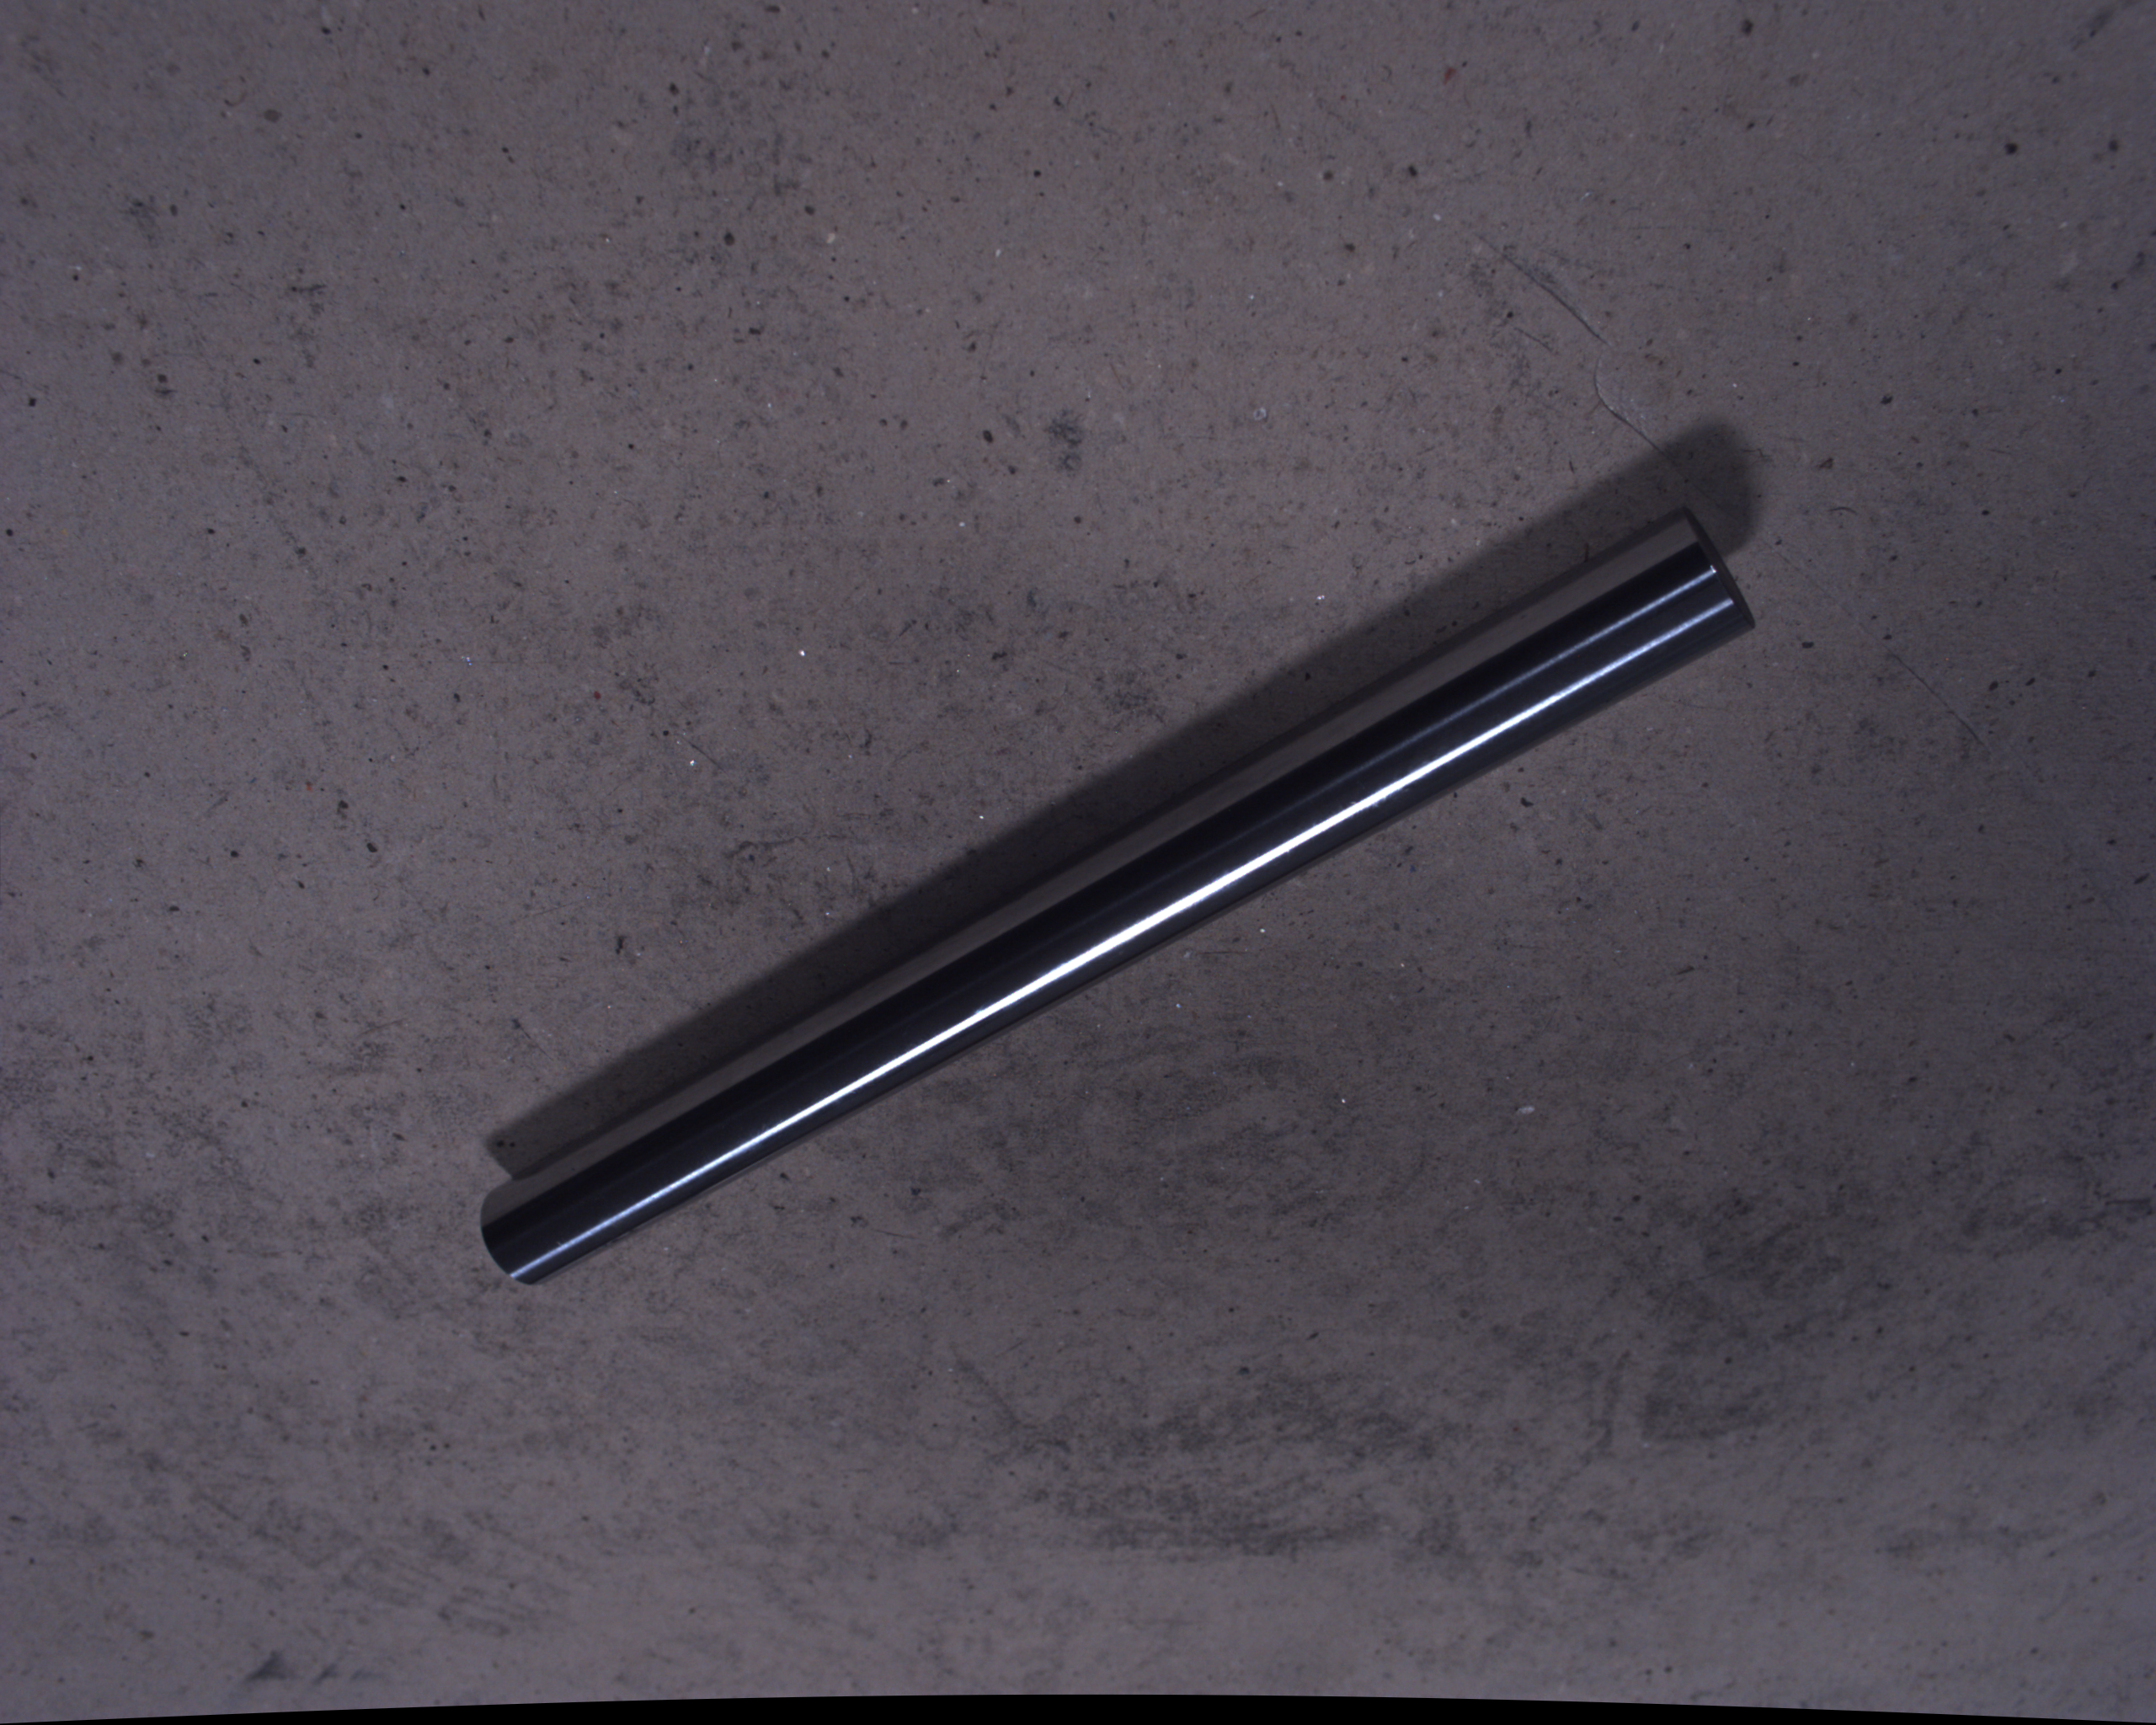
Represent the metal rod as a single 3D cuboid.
[{"bbox_3d":[-0.008,0.016,0.423,0.300,0.025,0.025,-30,124,22],"label":"metal rod"}]
